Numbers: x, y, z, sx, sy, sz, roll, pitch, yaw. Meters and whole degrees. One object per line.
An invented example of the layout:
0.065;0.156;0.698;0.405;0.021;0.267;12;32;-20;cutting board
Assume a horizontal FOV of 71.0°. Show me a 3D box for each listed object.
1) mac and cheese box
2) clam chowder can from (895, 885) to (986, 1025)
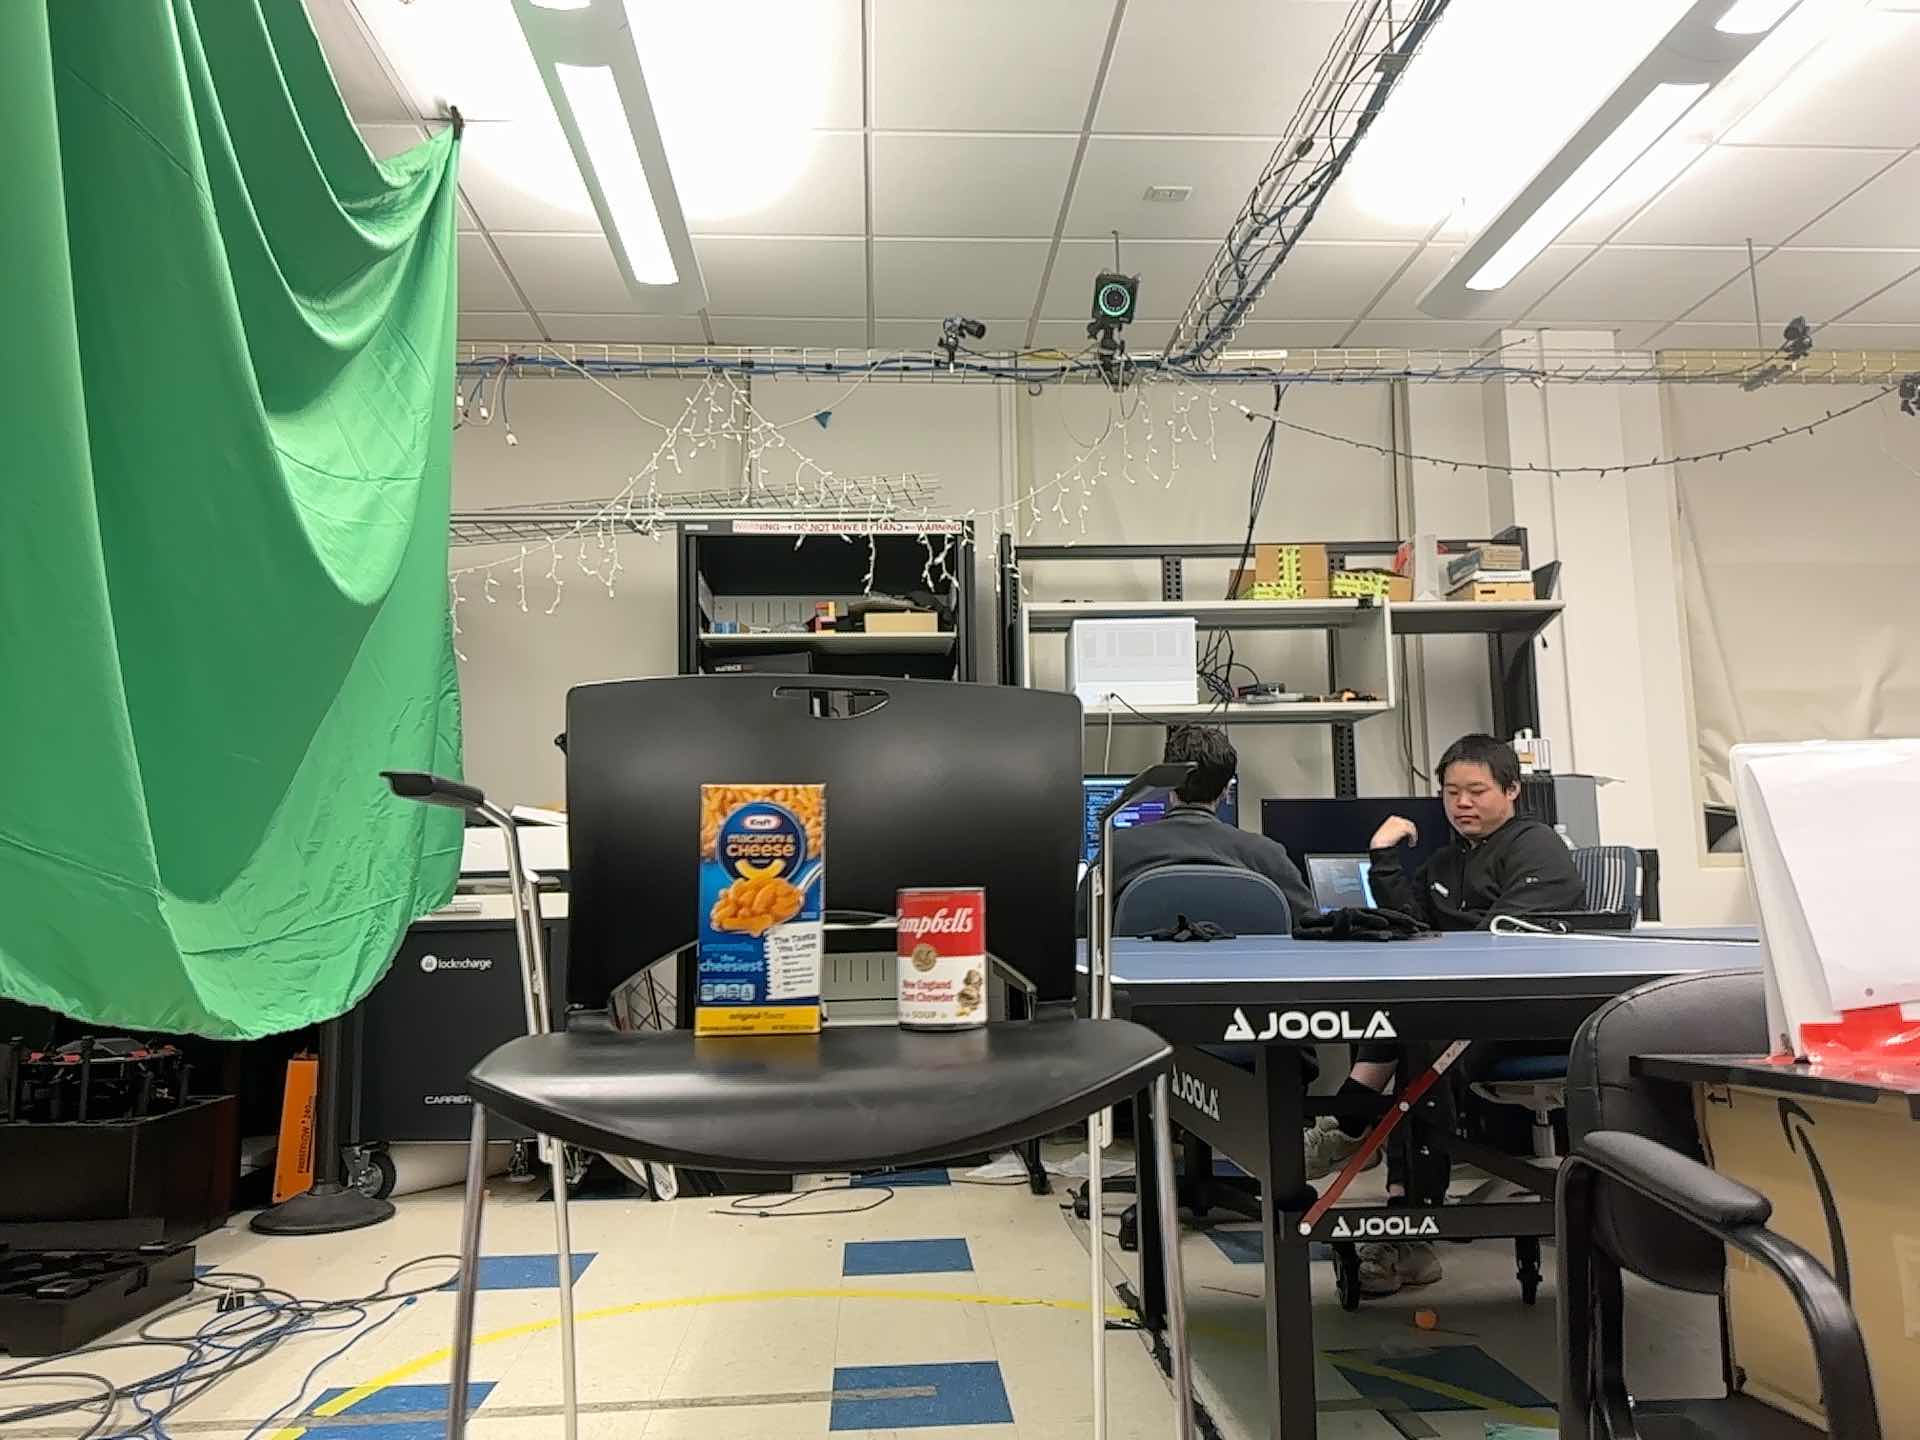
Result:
-0.150;0.136;1.008;0.088;0.181;0.035;-1;-6;2;mac and cheese box
-0.015;0.178;1.027;0.068;0.102;0.068;-1;-8;0;clam chowder can
